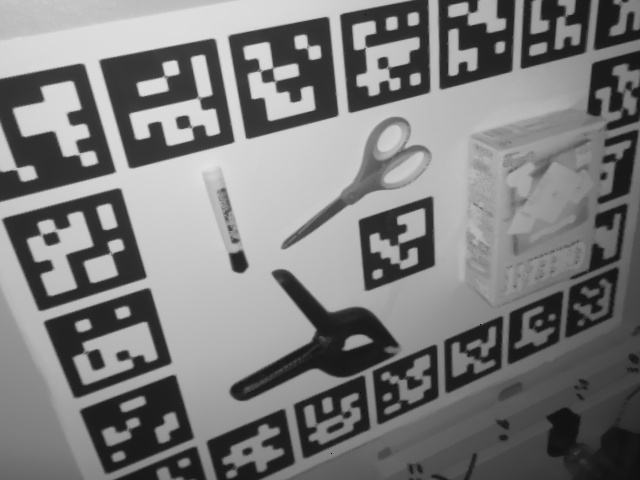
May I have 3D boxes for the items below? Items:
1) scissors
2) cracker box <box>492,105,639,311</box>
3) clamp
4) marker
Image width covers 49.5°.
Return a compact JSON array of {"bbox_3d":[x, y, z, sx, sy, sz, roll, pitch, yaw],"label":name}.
[{"bbox_3d":[0.061,-0.045,0.749,0.203,0.016,0.088,-42,126,1],"label":"scissors"},{"bbox_3d":[0.294,-0.038,0.839,0.166,0.071,0.212,-18,121,-18],"label":"cracker box"},{"bbox_3d":[0.039,0.128,0.830,0.205,0.036,0.164,11,110,-30],"label":"clamp"},{"bbox_3d":[-0.070,-0.005,0.702,0.020,0.019,0.120,-22,123,-15],"label":"marker"}]
